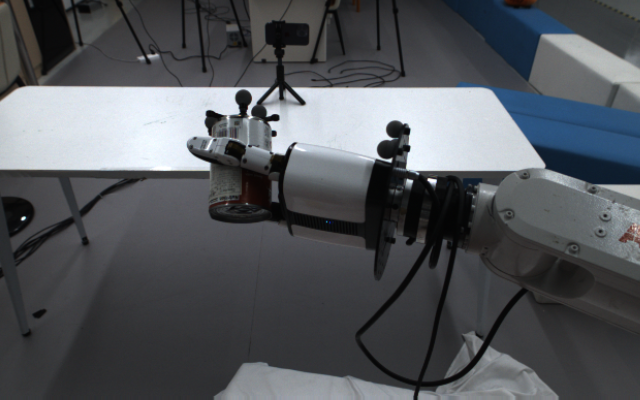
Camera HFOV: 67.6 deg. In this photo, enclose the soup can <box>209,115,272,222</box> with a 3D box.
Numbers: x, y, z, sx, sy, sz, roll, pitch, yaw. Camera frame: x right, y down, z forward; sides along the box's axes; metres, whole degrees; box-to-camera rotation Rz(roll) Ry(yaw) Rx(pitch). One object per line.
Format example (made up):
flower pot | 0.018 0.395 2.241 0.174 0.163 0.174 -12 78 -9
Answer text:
soup can | -0.082 -0.032 0.523 0.067 0.067 0.101 -1 71 -5
